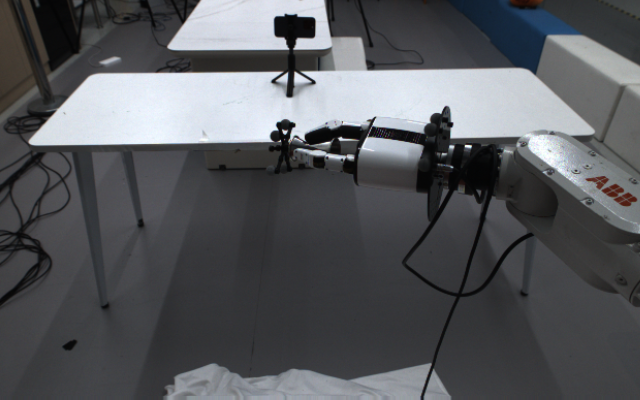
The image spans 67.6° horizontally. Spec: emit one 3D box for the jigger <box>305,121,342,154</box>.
[{"bbox_3d":[-0.003,-0.078,0.725,0.071,0.043,0.043,7,34,23],"label":"jigger"}]
